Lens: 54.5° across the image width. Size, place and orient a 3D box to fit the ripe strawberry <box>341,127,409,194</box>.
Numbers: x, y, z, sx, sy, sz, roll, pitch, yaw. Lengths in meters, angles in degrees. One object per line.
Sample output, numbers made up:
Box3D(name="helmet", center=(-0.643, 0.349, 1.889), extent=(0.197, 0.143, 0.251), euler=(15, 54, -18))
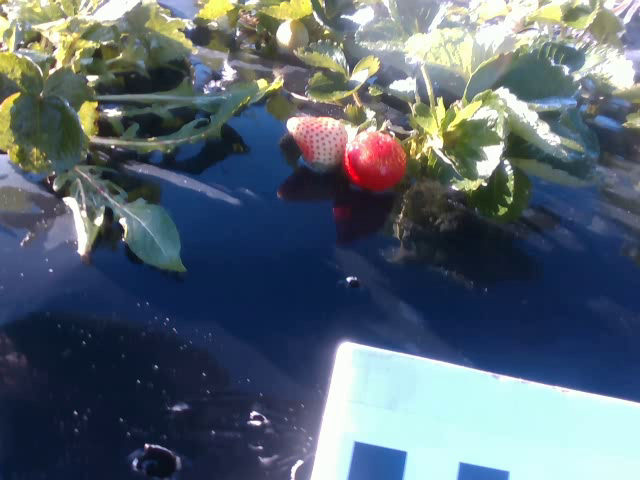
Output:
Box3D(name="ripe strawberry", center=(0.030, -0.046, 0.339), extent=(0.040, 0.038, 0.055), euler=(-12, -13, 15))
